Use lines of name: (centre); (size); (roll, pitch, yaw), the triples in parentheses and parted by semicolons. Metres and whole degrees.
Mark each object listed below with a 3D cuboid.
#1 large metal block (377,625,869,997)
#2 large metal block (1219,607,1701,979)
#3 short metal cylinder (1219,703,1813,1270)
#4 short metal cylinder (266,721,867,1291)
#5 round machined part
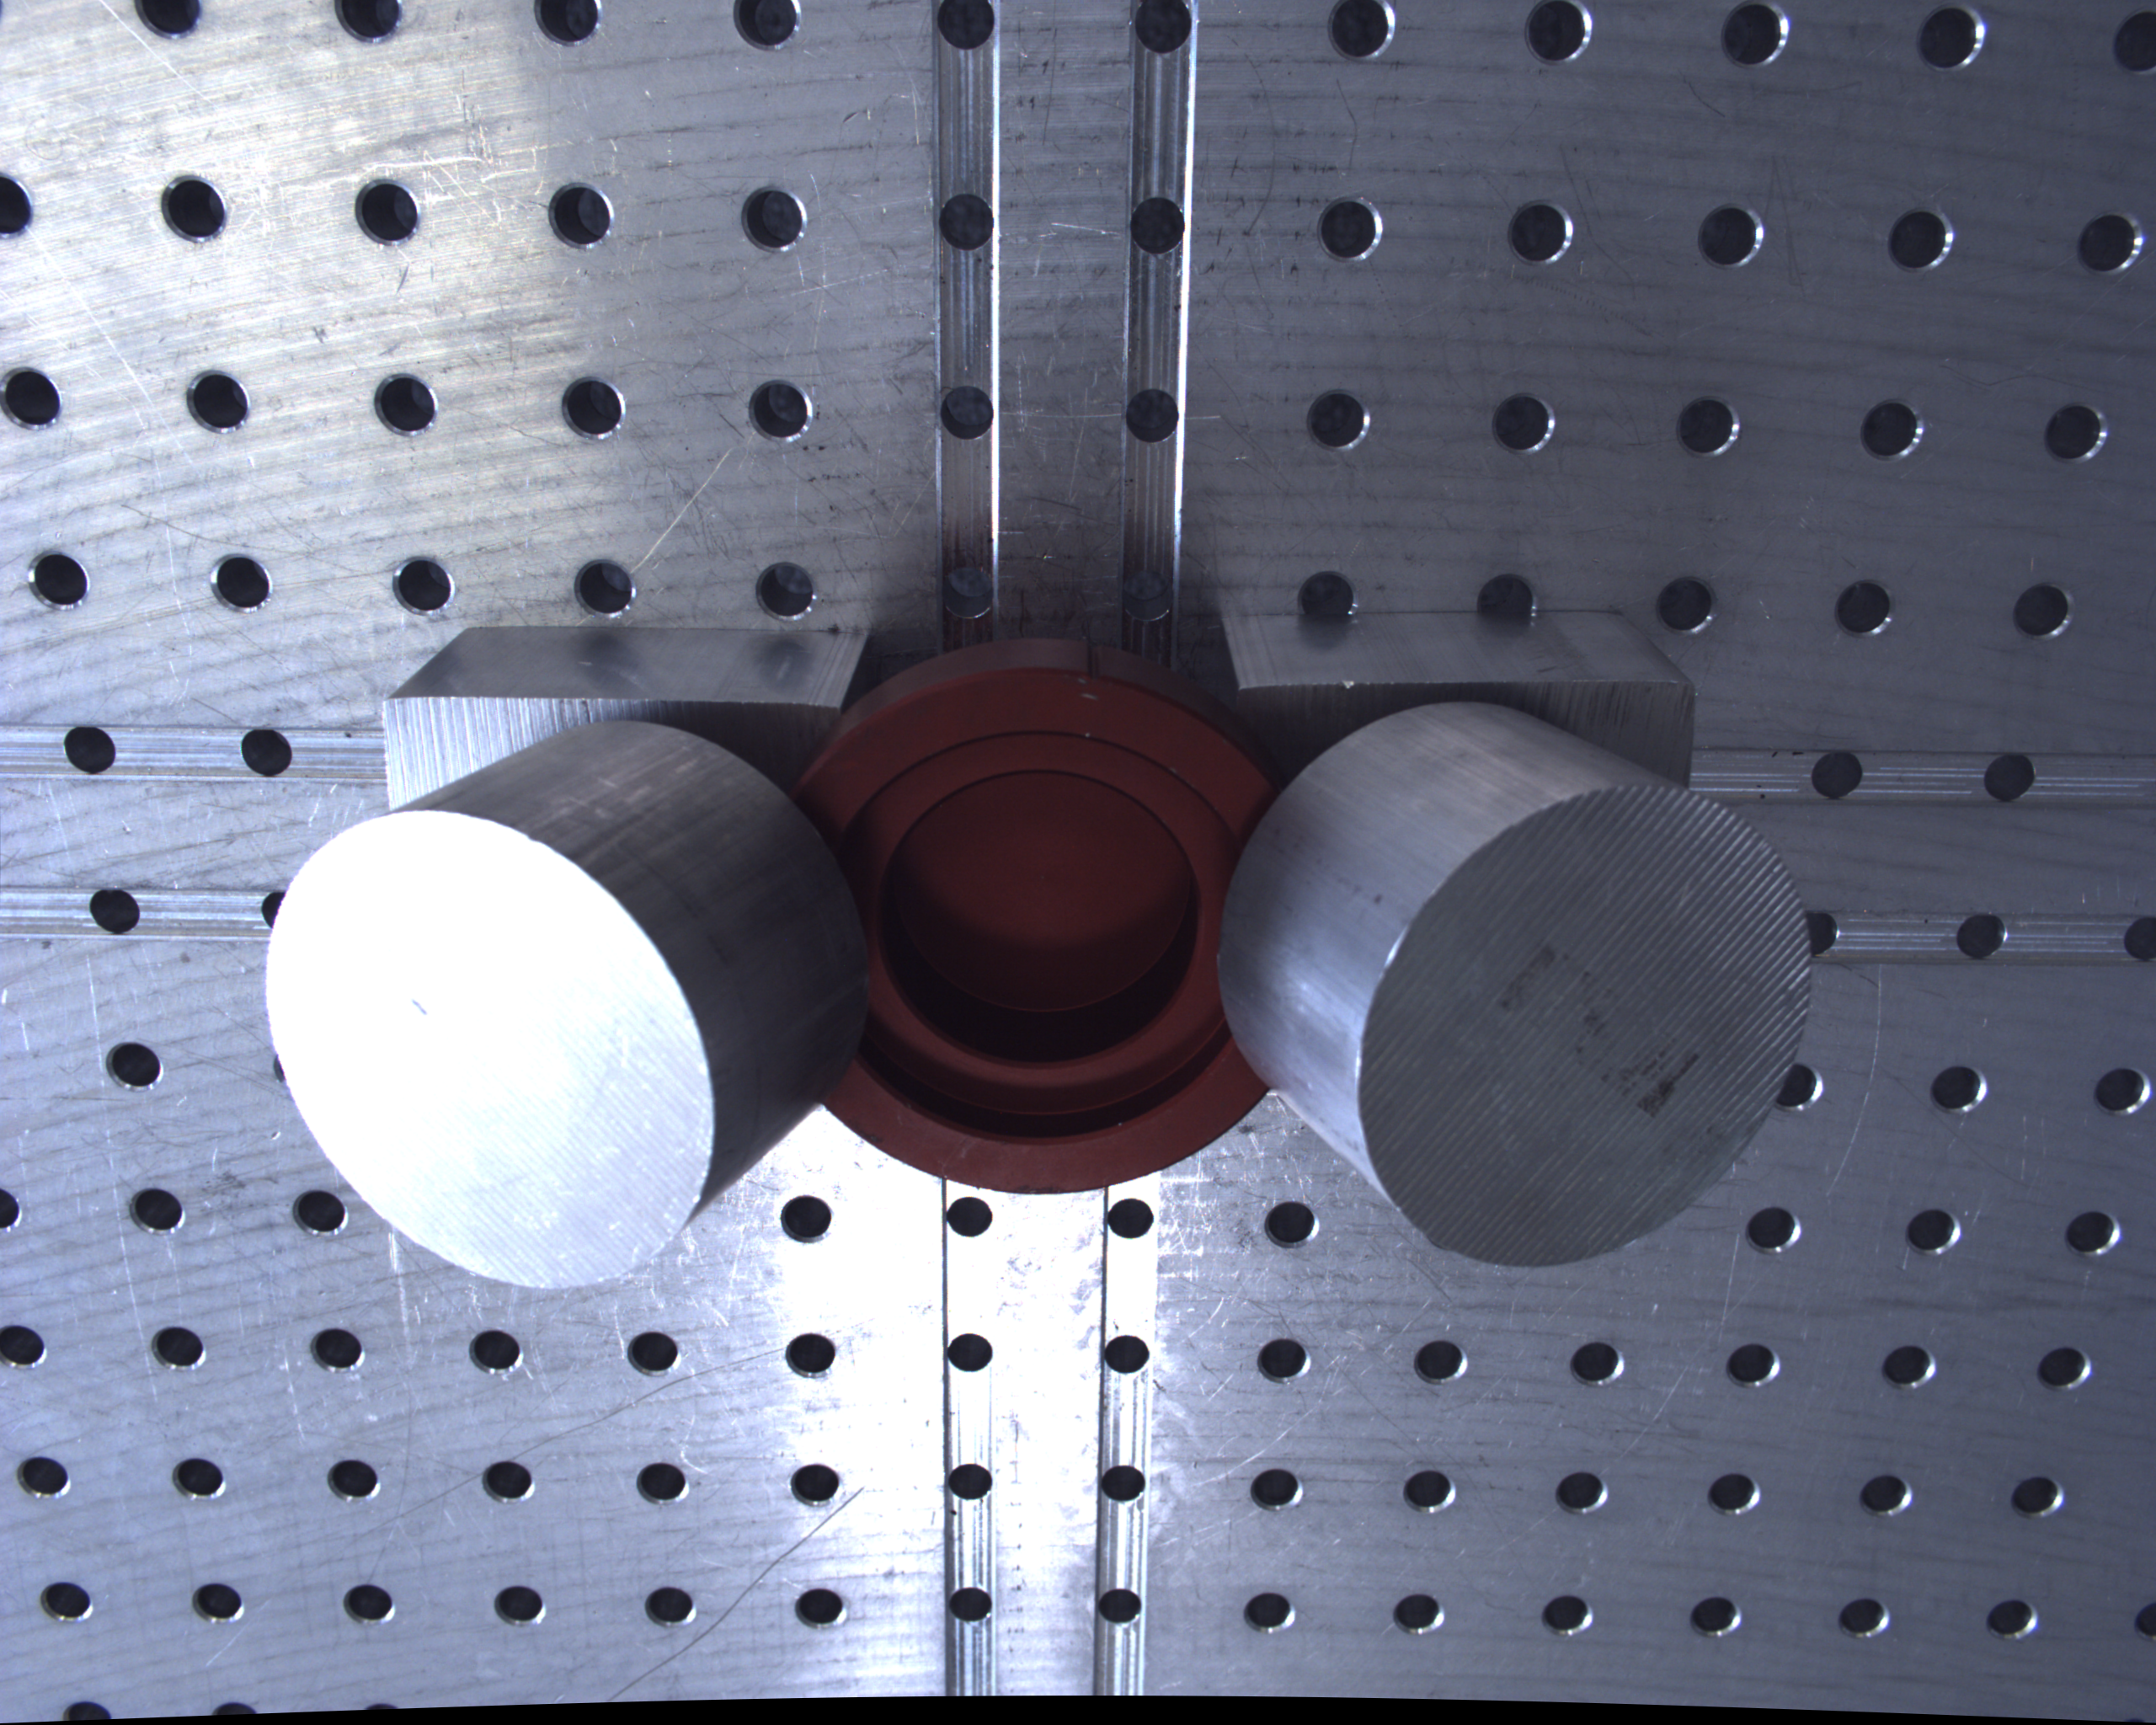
large metal block: (-0.082, 0.000, 0.399); (0.081, 0.050, 0.079); (1, 110, -1)
large metal block: (0.068, -0.004, 0.399); (0.080, 0.050, 0.079); (-1, 110, 0)
short metal cylinder: (0.070, 0.019, 0.340); (0.081, 0.050, 0.079); (-7, 111, -19)
short metal cylinder: (-0.082, 0.022, 0.340); (0.080, 0.050, 0.079); (8, 113, 20)
round machined part: (-0.007, 0.007, 0.375); (0.099, 0.042, 0.097); (0, 110, 0)
